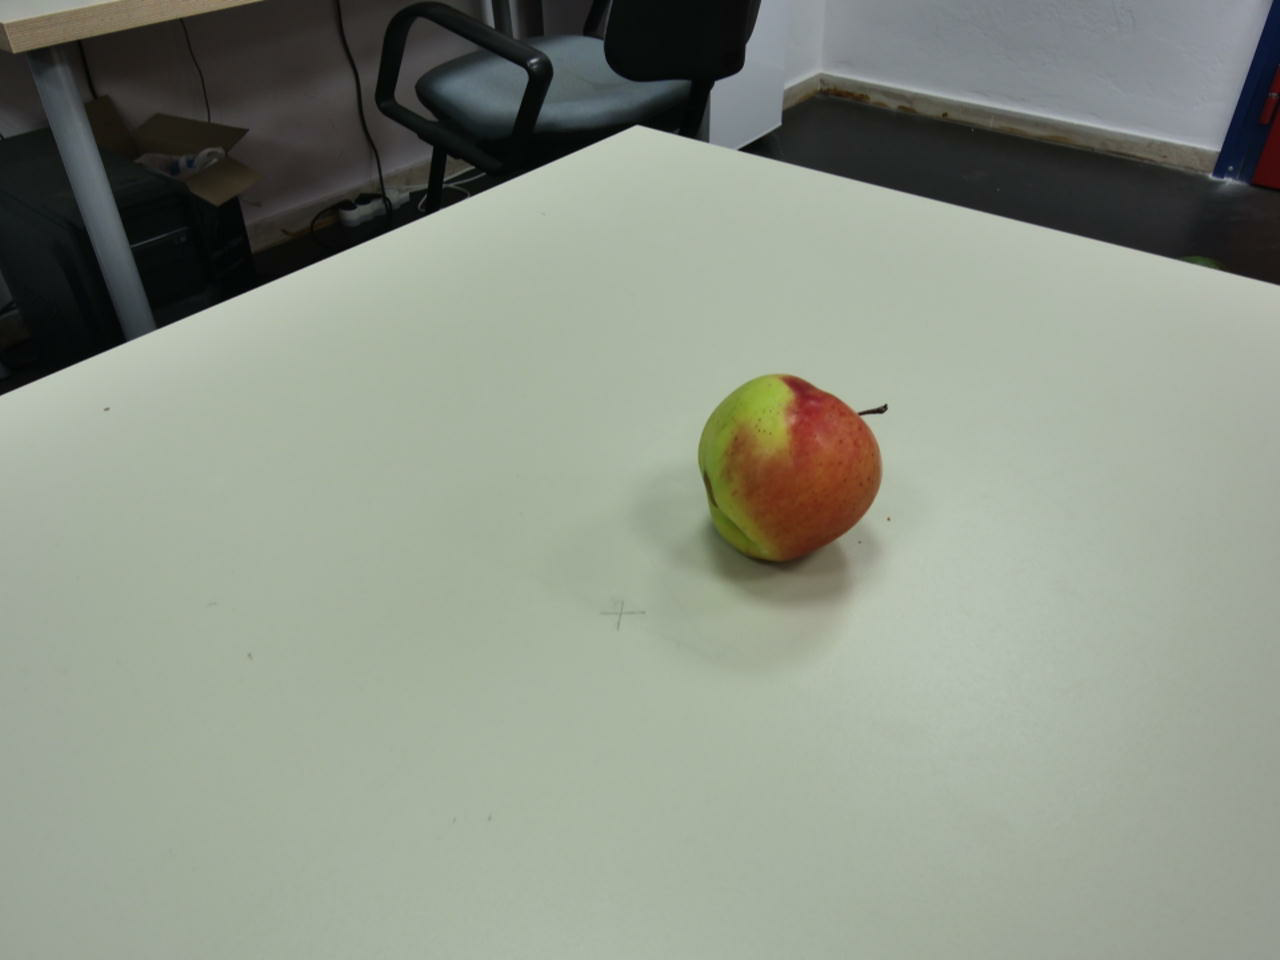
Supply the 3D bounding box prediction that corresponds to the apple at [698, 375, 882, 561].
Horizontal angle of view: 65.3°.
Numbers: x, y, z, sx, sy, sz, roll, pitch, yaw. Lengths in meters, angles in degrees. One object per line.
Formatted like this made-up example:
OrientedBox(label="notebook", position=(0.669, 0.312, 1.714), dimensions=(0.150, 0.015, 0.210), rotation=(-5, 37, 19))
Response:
OrientedBox(label="apple", position=(0.060, -0.005, 0.414), dimensions=(0.075, 0.074, 0.075), rotation=(11, 37, 16))
